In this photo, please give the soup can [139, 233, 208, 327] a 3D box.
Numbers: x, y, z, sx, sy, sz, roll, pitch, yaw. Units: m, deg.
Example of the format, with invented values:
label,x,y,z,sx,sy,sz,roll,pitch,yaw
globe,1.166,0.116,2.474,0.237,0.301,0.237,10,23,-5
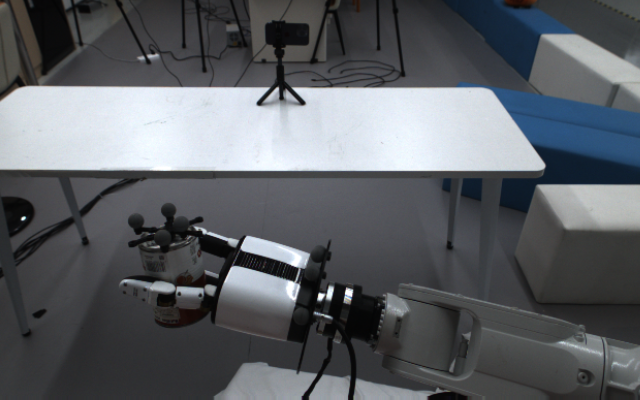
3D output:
label,x,y,z,sx,sy,sz,roll,pitch,yaw
soup can,-0.166,0.089,0.564,0.067,0.101,0.067,-4,21,1
